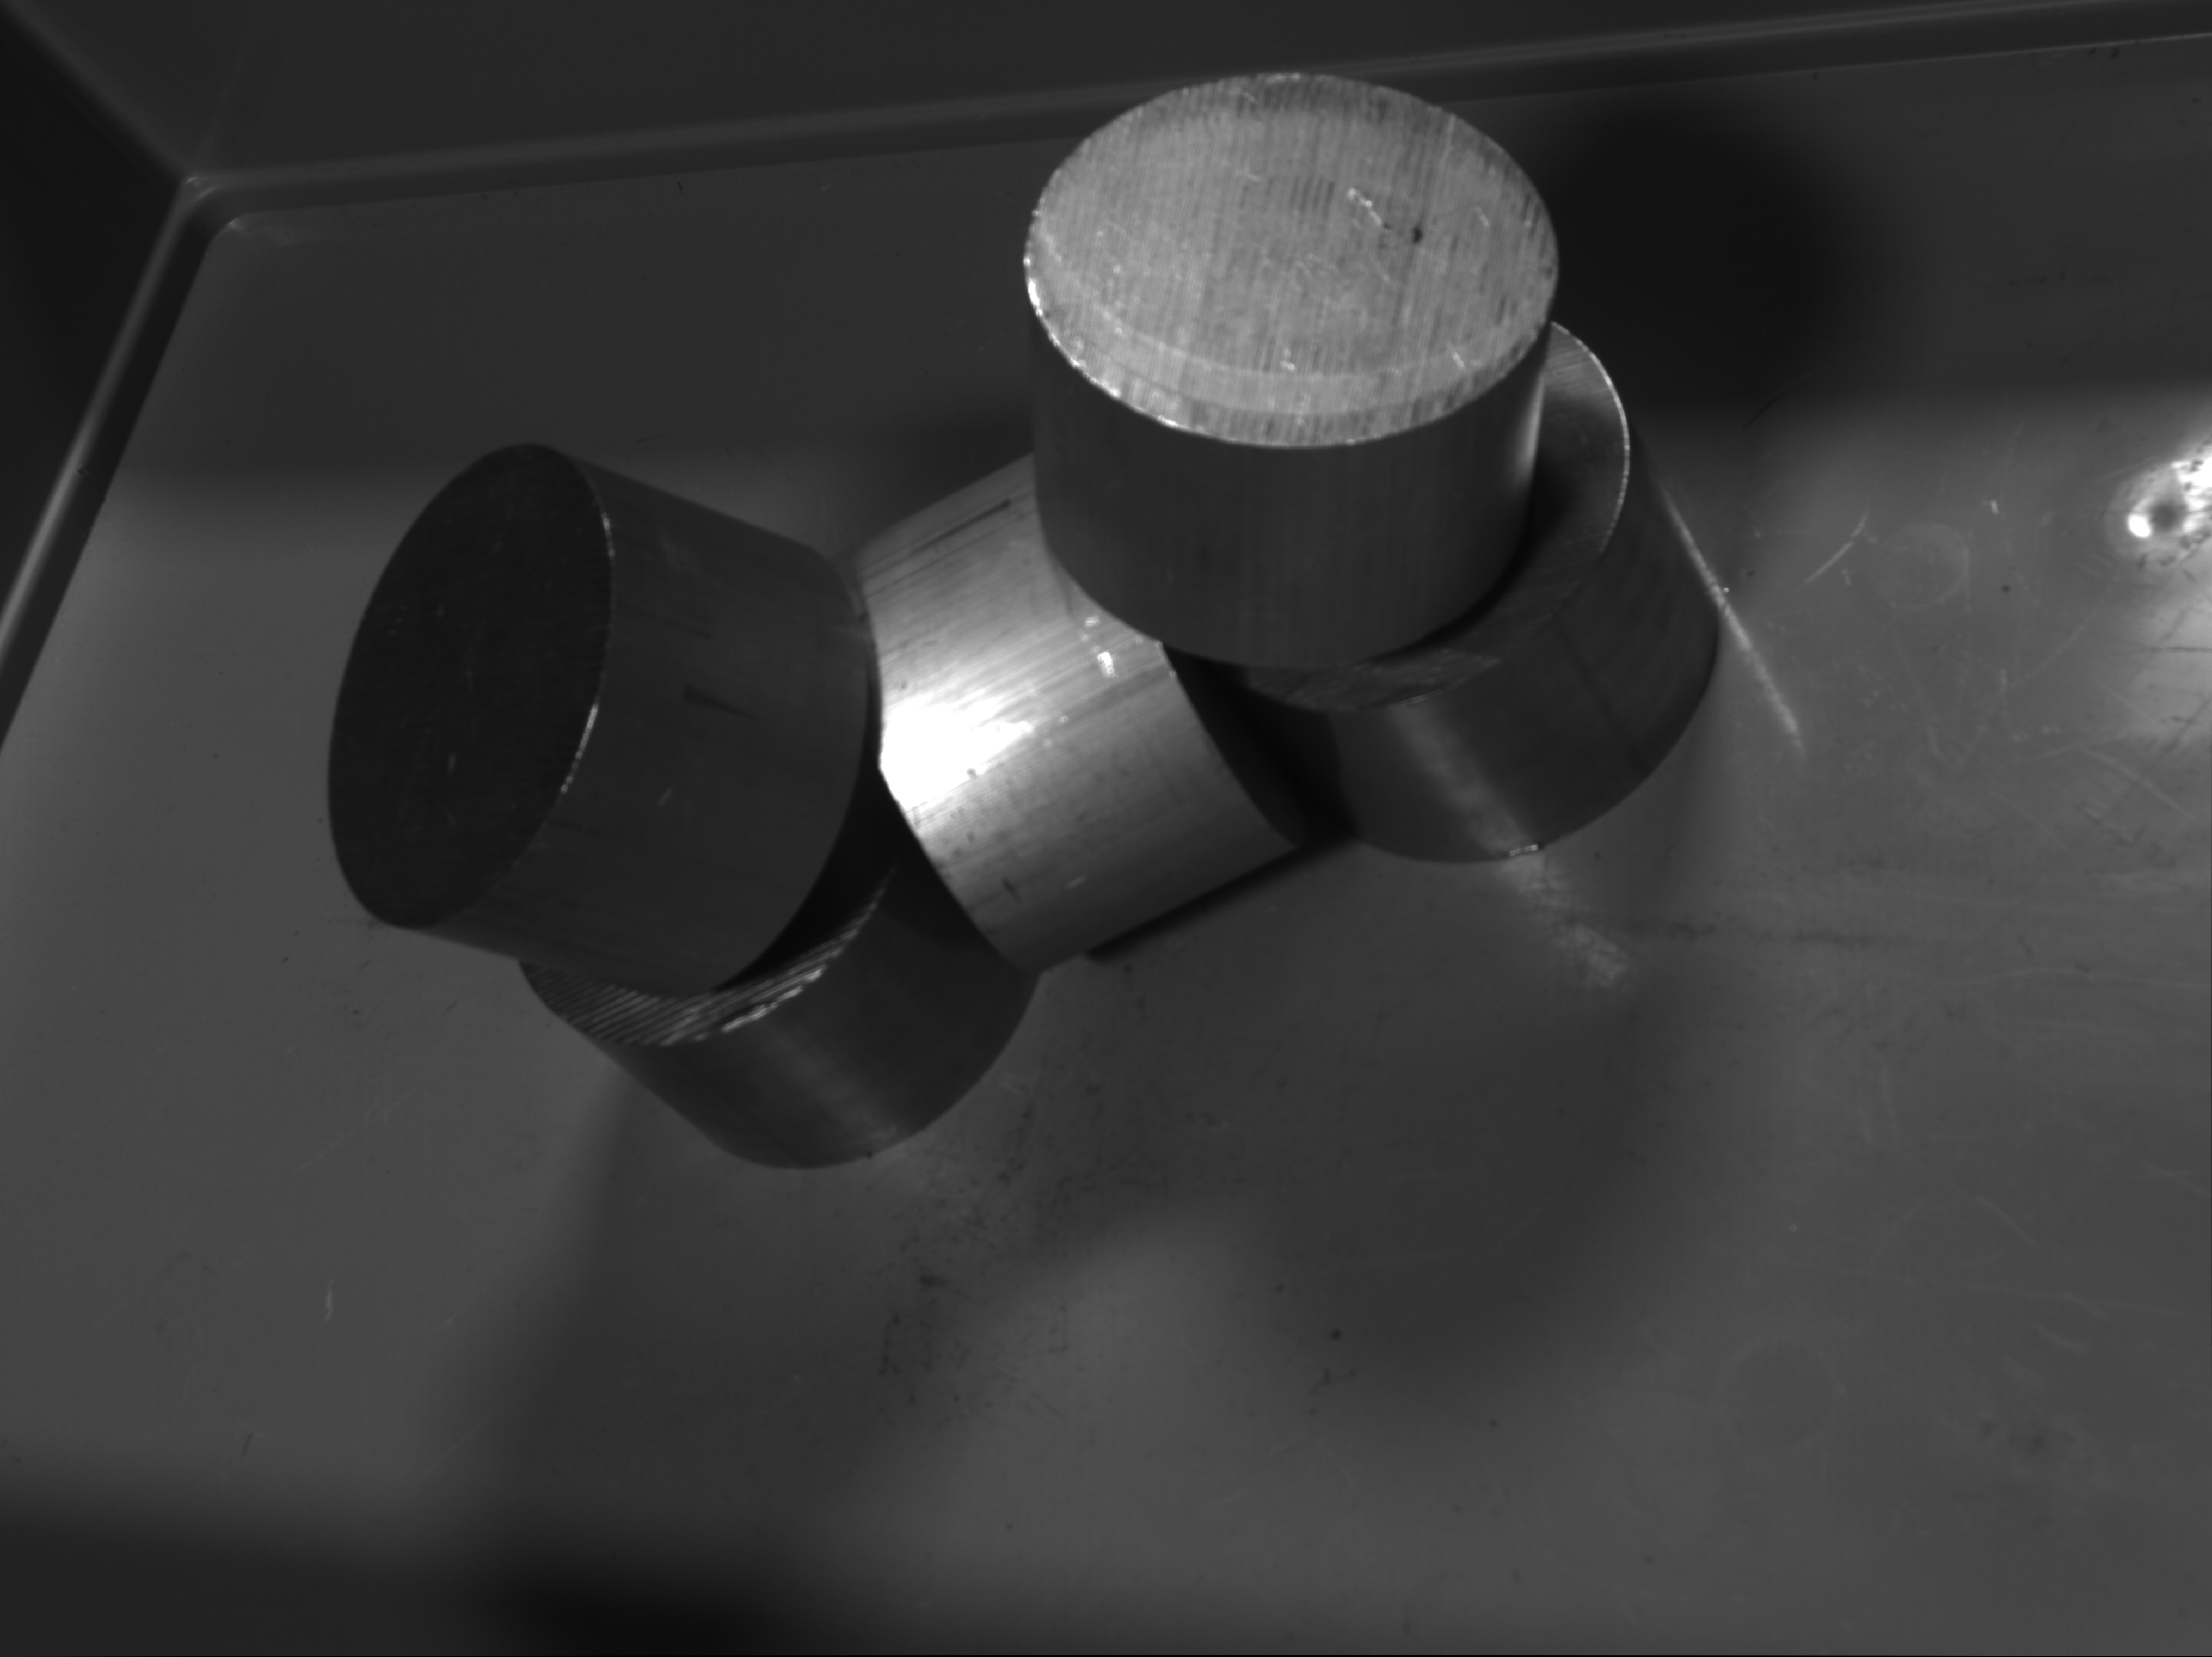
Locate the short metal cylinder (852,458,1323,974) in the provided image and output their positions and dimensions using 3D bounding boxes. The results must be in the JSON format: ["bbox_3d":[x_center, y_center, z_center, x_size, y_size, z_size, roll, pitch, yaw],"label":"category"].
[{"bbox_3d":[-0.003,-0.022,0.622,0.050,0.080,0.080,-26,52,12],"label":"short metal cylinder"}]

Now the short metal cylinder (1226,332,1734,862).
[{"bbox_3d":[0.060,-0.041,0.620,0.080,0.050,0.080,-13,56,21],"label":"short metal cylinder"}]

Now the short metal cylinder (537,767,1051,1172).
[{"bbox_3d":[-0.055,0.014,0.647,0.080,0.050,0.080,-13,56,21],"label":"short metal cylinder"}]

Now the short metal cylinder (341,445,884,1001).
[{"bbox_3d":[-0.081,-0.016,0.597,0.080,0.050,0.080,-21,60,43],"label":"short metal cylinder"}]

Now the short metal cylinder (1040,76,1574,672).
[{"bbox_3d":[0.031,-0.071,0.570,0.080,0.050,0.080,0,52,1],"label":"short metal cylinder"}]
